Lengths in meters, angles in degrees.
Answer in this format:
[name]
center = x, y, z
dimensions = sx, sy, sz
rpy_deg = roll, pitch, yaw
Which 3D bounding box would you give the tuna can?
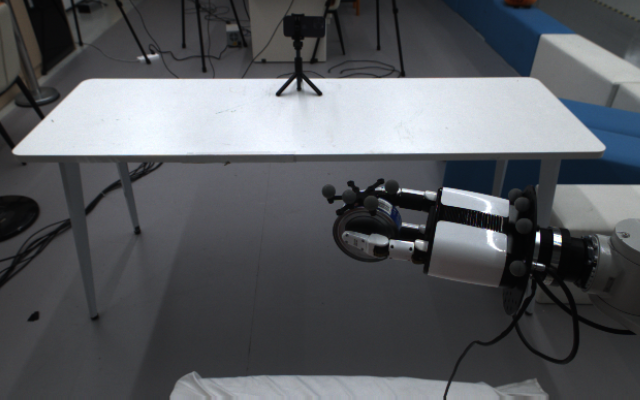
[tuna can]
center = 0.063, 0.036, 0.622
dimensions = 0.085, 0.085, 0.034
rpy_deg = 10, 33, 11
